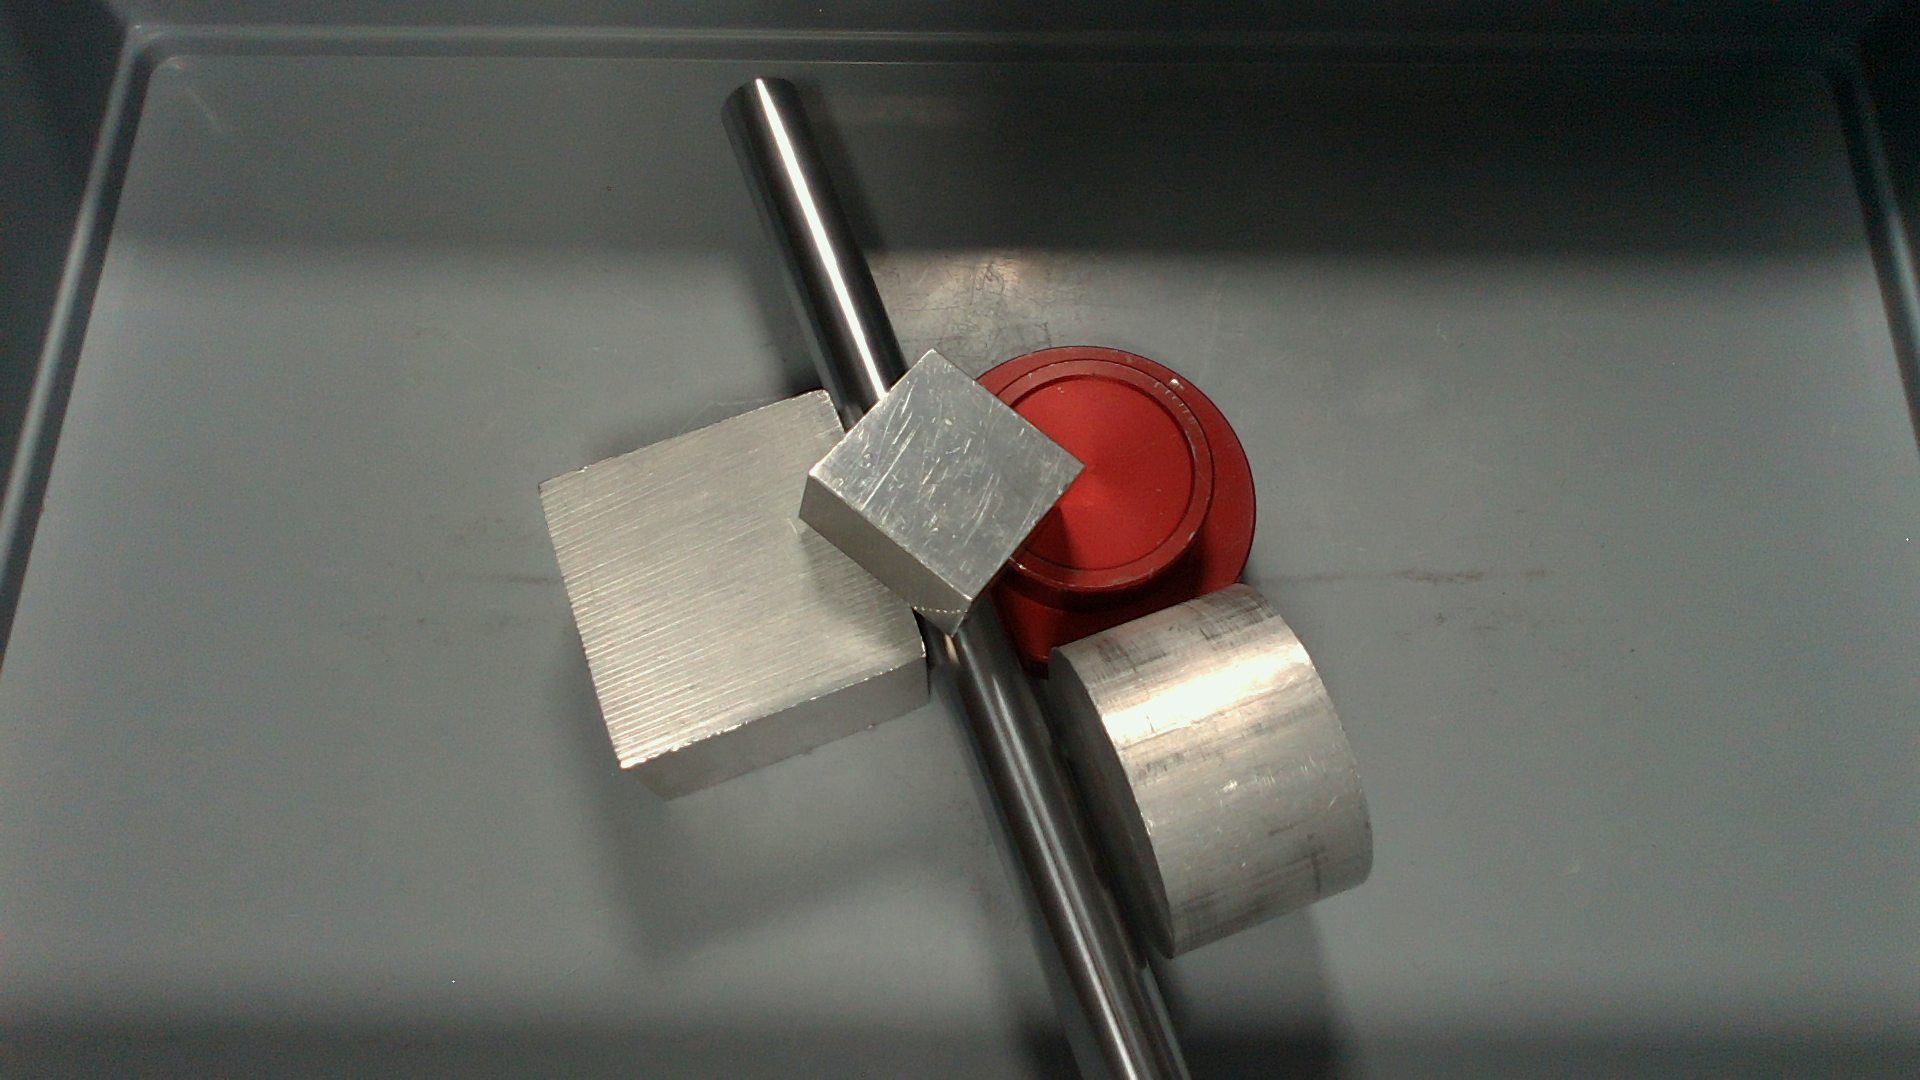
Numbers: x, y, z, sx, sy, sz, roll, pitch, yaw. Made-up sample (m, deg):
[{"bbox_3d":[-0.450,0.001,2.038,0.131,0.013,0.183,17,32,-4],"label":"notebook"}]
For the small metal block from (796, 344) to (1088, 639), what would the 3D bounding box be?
[{"bbox_3d":[-0.005,-0.012,0.347,0.050,0.025,0.050,38,63,5],"label":"small metal block"}]

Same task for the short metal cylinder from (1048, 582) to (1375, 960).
[{"bbox_3d":[0.060,0.057,0.344,0.050,0.080,0.080,-20,71,-7],"label":"short metal cylinder"}]

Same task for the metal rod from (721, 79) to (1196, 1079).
[{"bbox_3d":[-0.008,0.000,0.371,0.025,0.025,0.300,-19,71,-7],"label":"metal rod"}]

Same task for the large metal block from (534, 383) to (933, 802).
[{"bbox_3d":[-0.059,0.015,0.372,0.080,0.050,0.080,-19,71,-7],"label":"large metal block"}]

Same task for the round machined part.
[{"bbox_3d":[0.035,-0.012,0.388,0.098,0.042,0.098,0,70,0],"label":"round machined part"}]
